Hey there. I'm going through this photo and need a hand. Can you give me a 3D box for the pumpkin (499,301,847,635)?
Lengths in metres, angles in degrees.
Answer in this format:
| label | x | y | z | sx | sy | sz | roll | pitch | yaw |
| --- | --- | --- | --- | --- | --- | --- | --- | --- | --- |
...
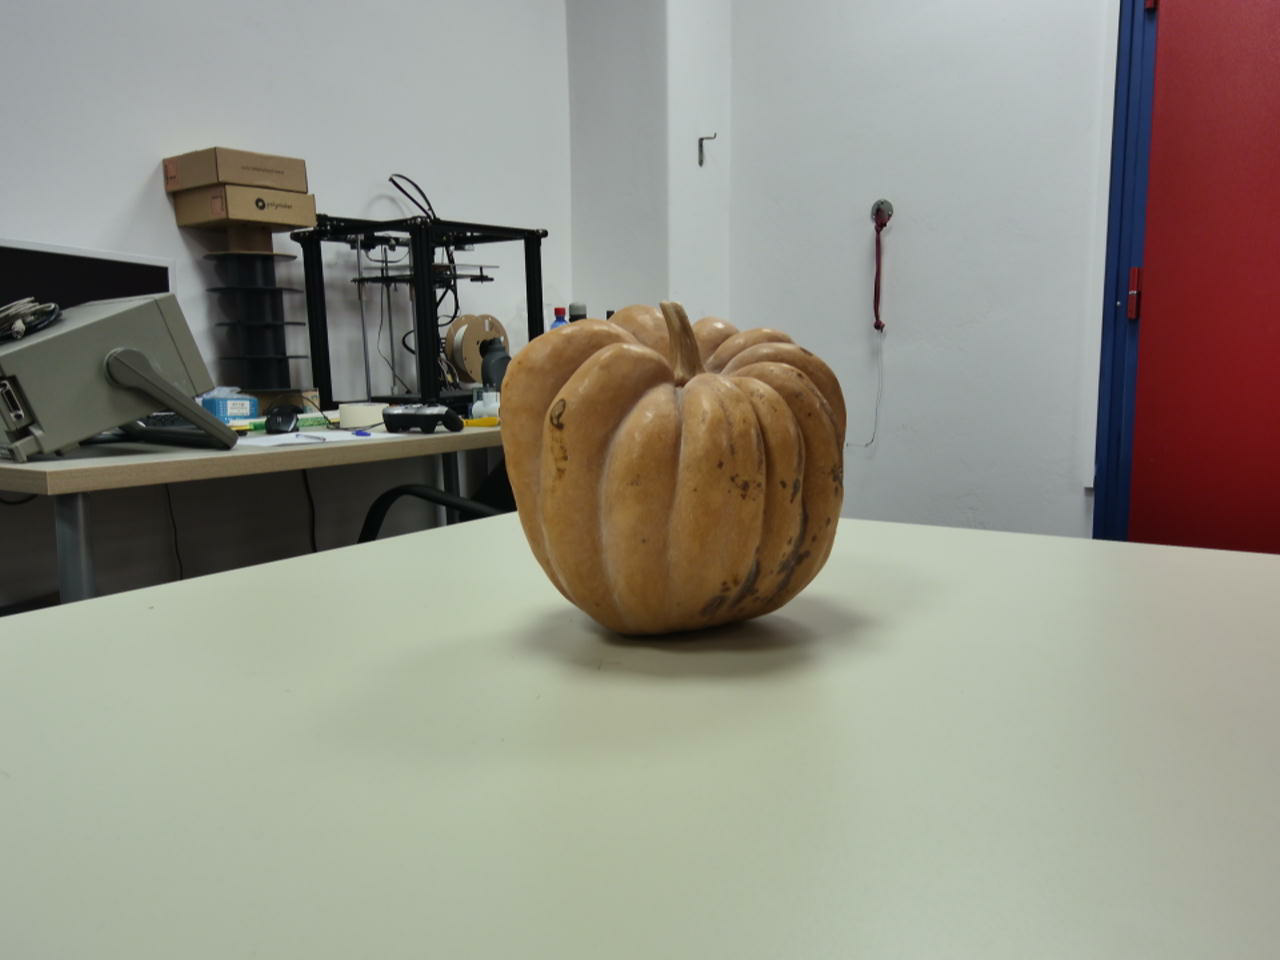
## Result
| label | x | y | z | sx | sy | sz | roll | pitch | yaw |
| --- | --- | --- | --- | --- | --- | --- | --- | --- | --- |
| pumpkin | 0.017 | -0.008 | 0.548 | 0.199 | 0.177 | 0.198 | -1 | 5 | 0 |
